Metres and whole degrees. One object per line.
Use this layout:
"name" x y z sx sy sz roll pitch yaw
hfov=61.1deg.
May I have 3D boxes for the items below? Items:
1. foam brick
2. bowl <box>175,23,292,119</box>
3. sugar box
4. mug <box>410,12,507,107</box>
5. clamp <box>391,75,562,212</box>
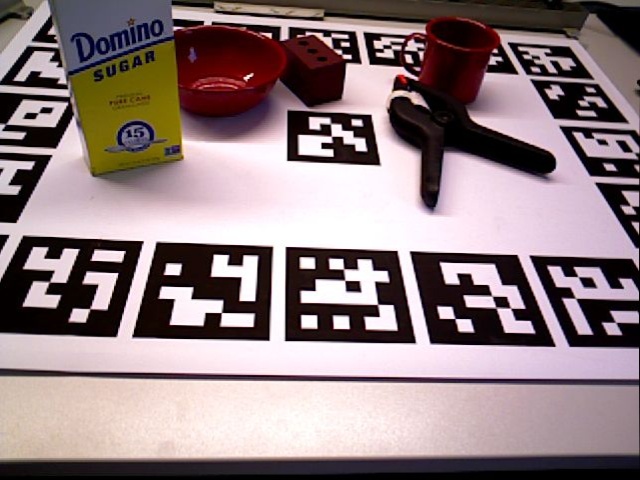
"foam brick" -0.001 -0.198 0.660 0.052 0.052 0.077 -20 54 -23
"bowl" -0.114 -0.188 0.626 0.160 0.056 0.159 4 47 -5
"sugar box" -0.174 -0.137 0.487 0.091 0.181 0.045 -16 53 -23
"mug" 0.168 -0.225 0.675 0.117 0.083 0.091 23 48 10
"clamp" 0.140 -0.121 0.600 0.163 0.037 0.201 -17 52 -19
